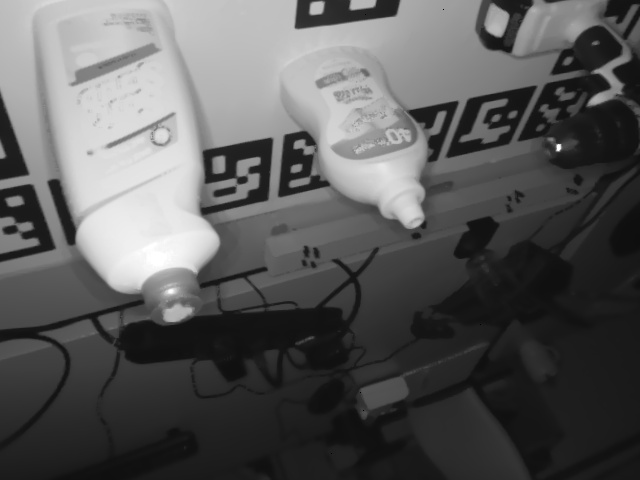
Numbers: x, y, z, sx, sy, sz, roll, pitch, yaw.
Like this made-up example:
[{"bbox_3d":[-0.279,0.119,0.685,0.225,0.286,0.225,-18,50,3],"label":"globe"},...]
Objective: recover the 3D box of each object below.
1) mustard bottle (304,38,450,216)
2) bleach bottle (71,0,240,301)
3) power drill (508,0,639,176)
[{"bbox_3d":[0.058,-0.096,0.604,0.097,0.192,0.058,-17,145,-9],"label":"mustard bottle"},{"bbox_3d":[-0.104,-0.068,0.478,0.104,0.251,0.067,-8,142,-23],"label":"bleach bottle"},{"bbox_3d":[0.250,-0.144,0.609,0.186,0.187,0.057,-20,146,-15],"label":"power drill"}]
